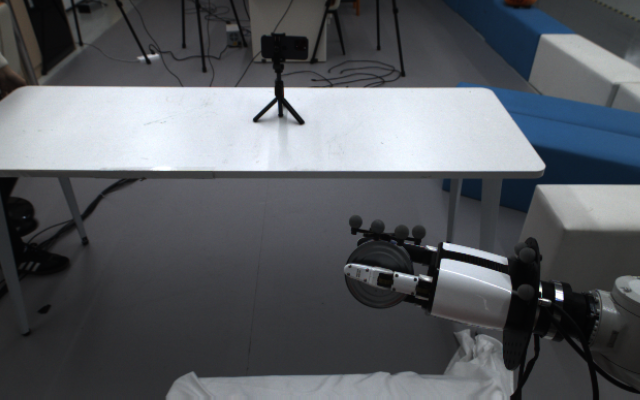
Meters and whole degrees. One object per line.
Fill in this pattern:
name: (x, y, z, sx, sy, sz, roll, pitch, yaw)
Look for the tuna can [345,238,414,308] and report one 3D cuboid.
tuna can: (0.078, 0.087, 0.611, 0.085, 0.085, 0.034, 11, 3, 12)
